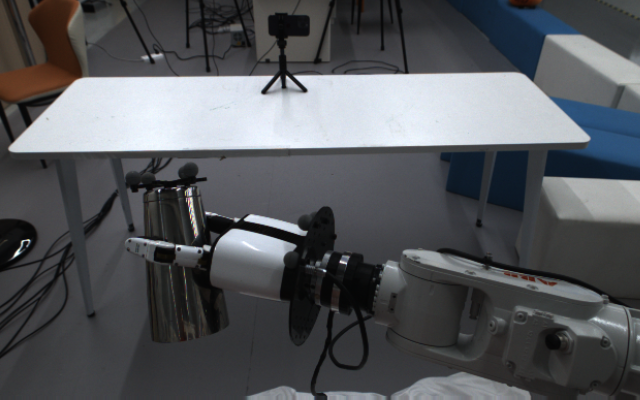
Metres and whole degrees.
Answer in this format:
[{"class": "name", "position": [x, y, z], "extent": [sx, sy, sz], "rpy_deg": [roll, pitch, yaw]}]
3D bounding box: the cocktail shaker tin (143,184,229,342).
[{"class": "cocktail shaker tin", "position": [-0.165, 0.073, 0.578], "extent": [0.093, 0.170, 0.093], "rpy_deg": [-8, 1, 0]}]
